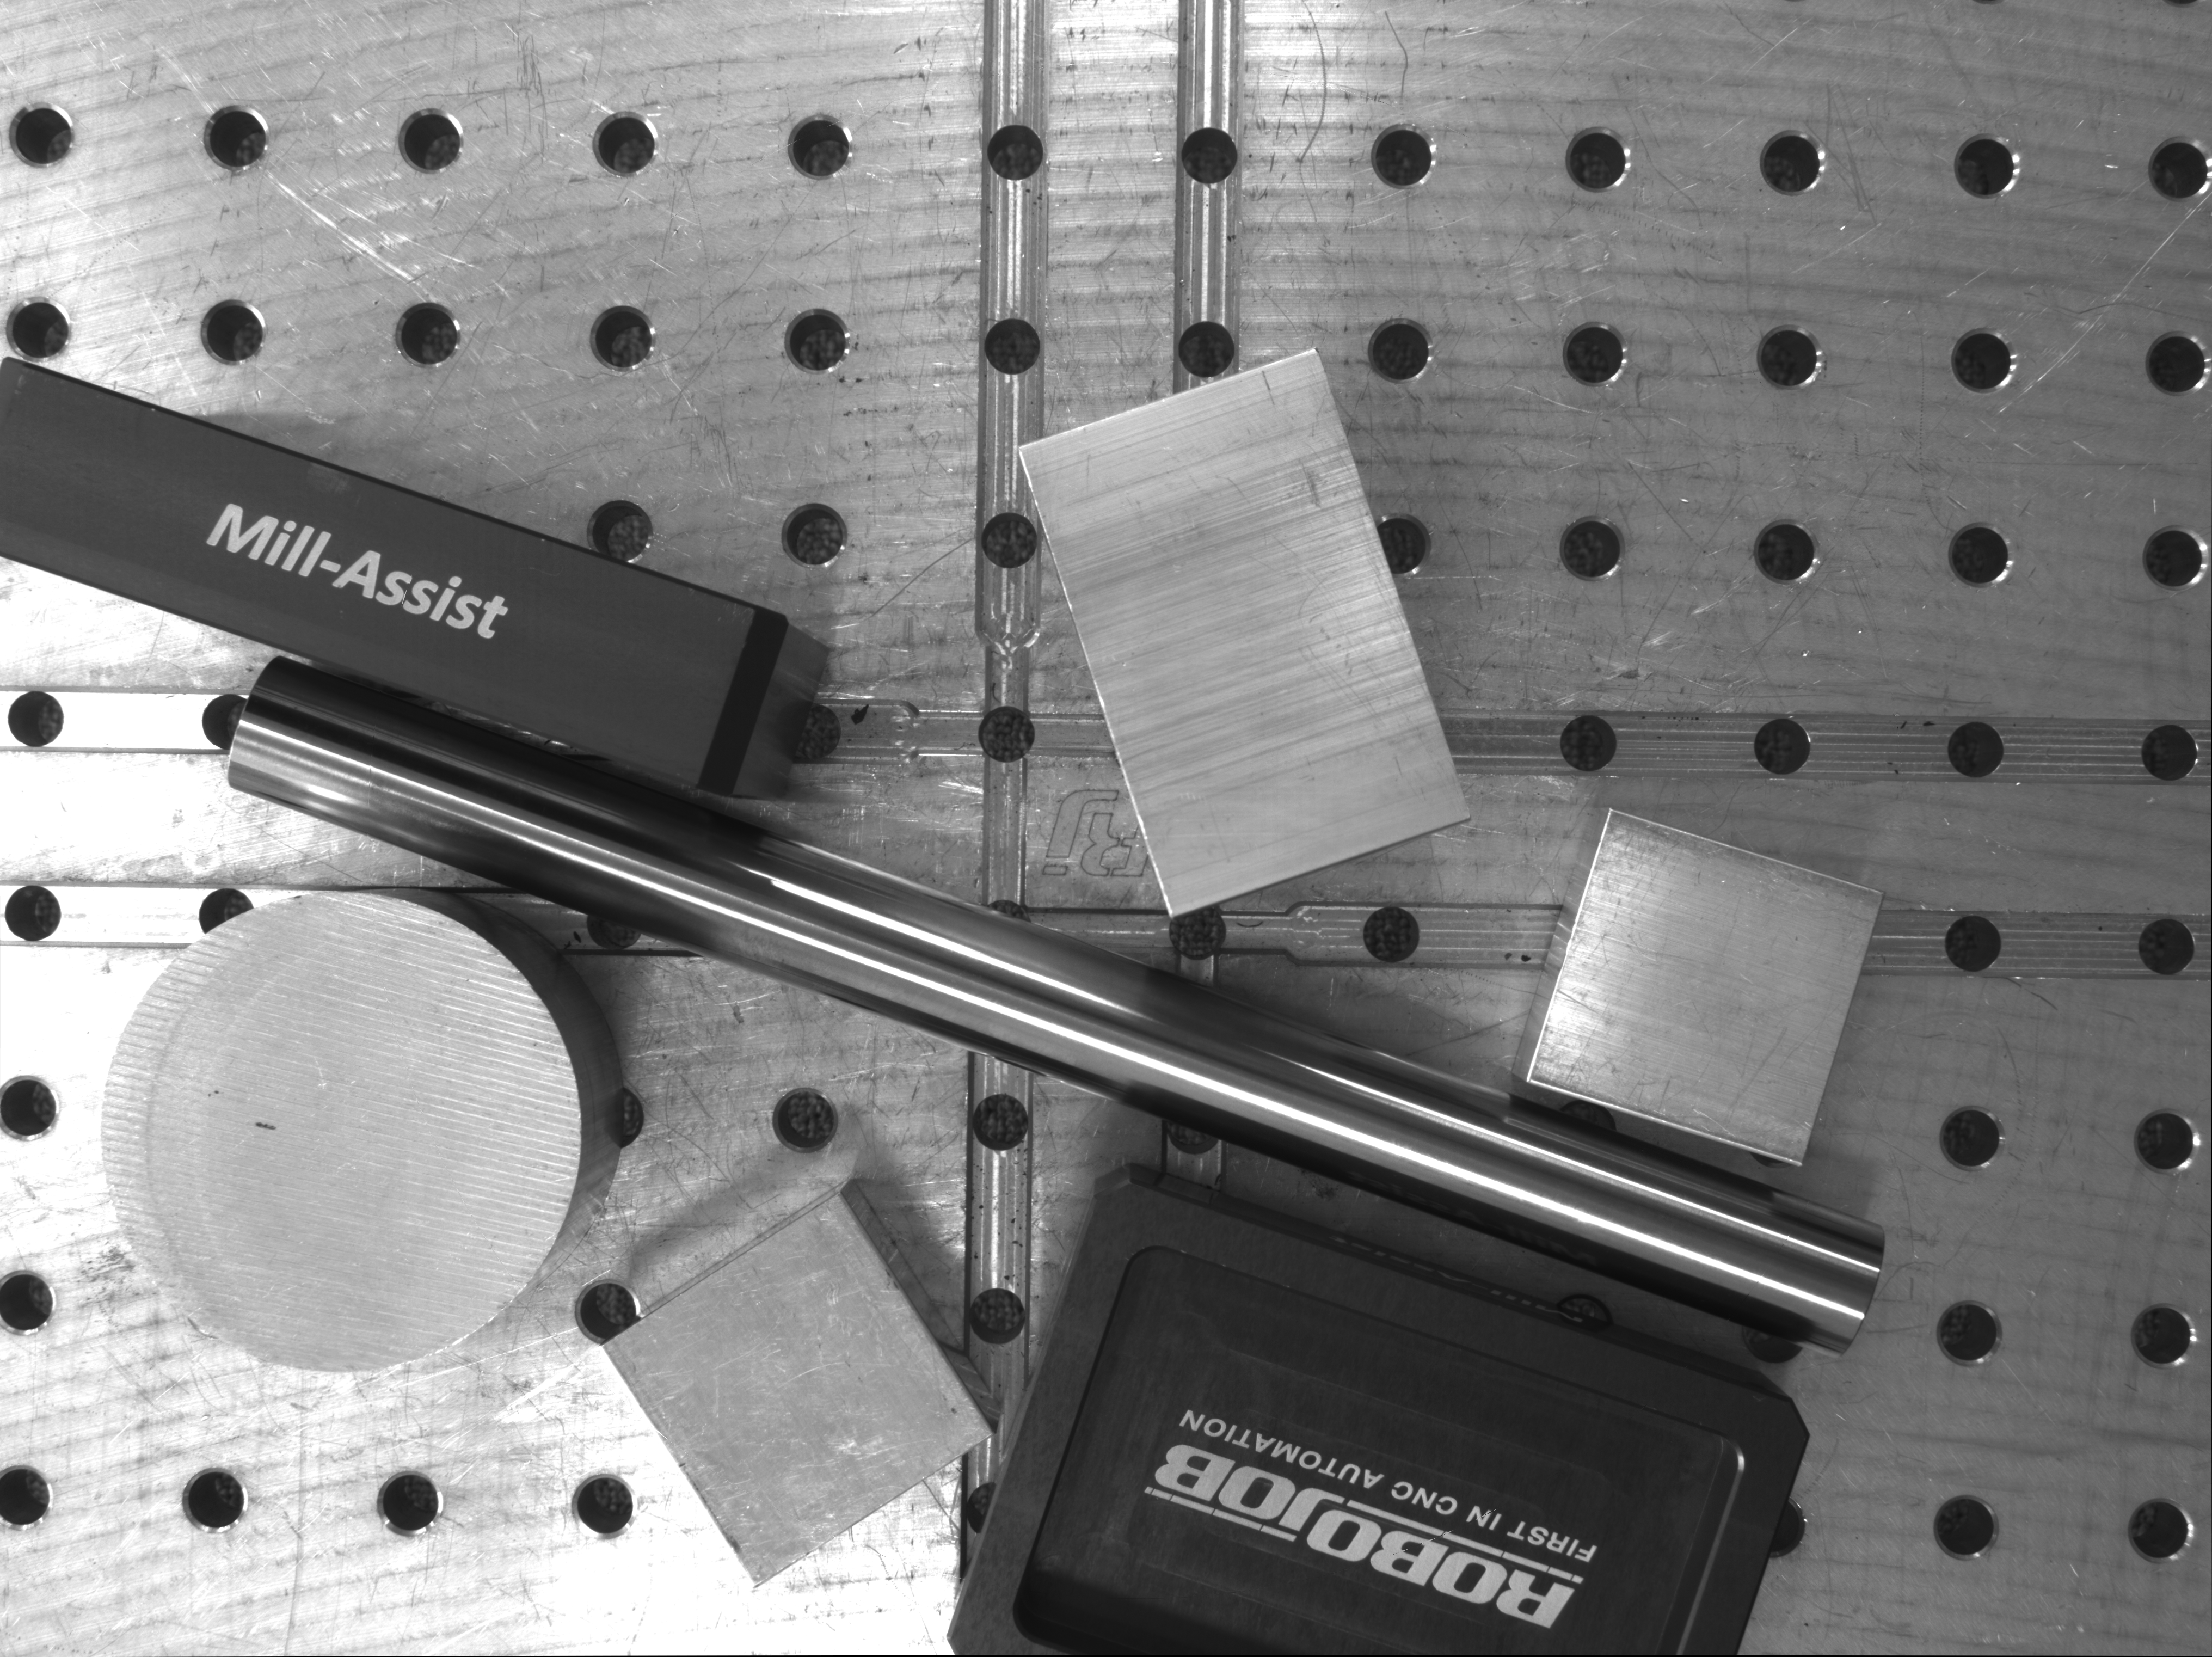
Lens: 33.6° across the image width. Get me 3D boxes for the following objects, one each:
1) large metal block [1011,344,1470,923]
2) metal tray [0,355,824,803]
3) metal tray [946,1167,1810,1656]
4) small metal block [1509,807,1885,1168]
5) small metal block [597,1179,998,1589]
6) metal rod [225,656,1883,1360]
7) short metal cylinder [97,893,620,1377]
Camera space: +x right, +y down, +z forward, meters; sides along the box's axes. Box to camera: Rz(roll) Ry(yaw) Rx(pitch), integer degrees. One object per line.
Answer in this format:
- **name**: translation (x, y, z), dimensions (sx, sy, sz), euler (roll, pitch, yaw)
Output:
- **large metal block**: translation (0.022, -0.031, 0.621), dimensions (0.050, 0.080, 0.080), euler (-18, 90, 0)
- **metal tray**: translation (-0.116, -0.039, 0.614), dimensions (0.130, 0.090, 0.030), euler (19, 90, 0)
- **metal tray**: translation (0.047, 0.122, 0.644), dimensions (0.130, 0.030, 0.090), euler (18, 90, 0)
- **small metal block**: translation (0.104, 0.028, 0.648), dimensions (0.050, 0.025, 0.050), euler (17, 90, 0)
- **small metal block**: translation (-0.054, 0.097, 0.648), dimensions (0.050, 0.025, 0.050), euler (-32, 90, 0)
- **metal rod**: translation (-0.009, 0.032, 0.647), dimensions (0.300, 0.025, 0.025), euler (20, 90, 0)
- **short metal cylinder**: translation (-0.127, 0.051, 0.634), dimensions (0.080, 0.050, 0.080), euler (0, 90, 0)
